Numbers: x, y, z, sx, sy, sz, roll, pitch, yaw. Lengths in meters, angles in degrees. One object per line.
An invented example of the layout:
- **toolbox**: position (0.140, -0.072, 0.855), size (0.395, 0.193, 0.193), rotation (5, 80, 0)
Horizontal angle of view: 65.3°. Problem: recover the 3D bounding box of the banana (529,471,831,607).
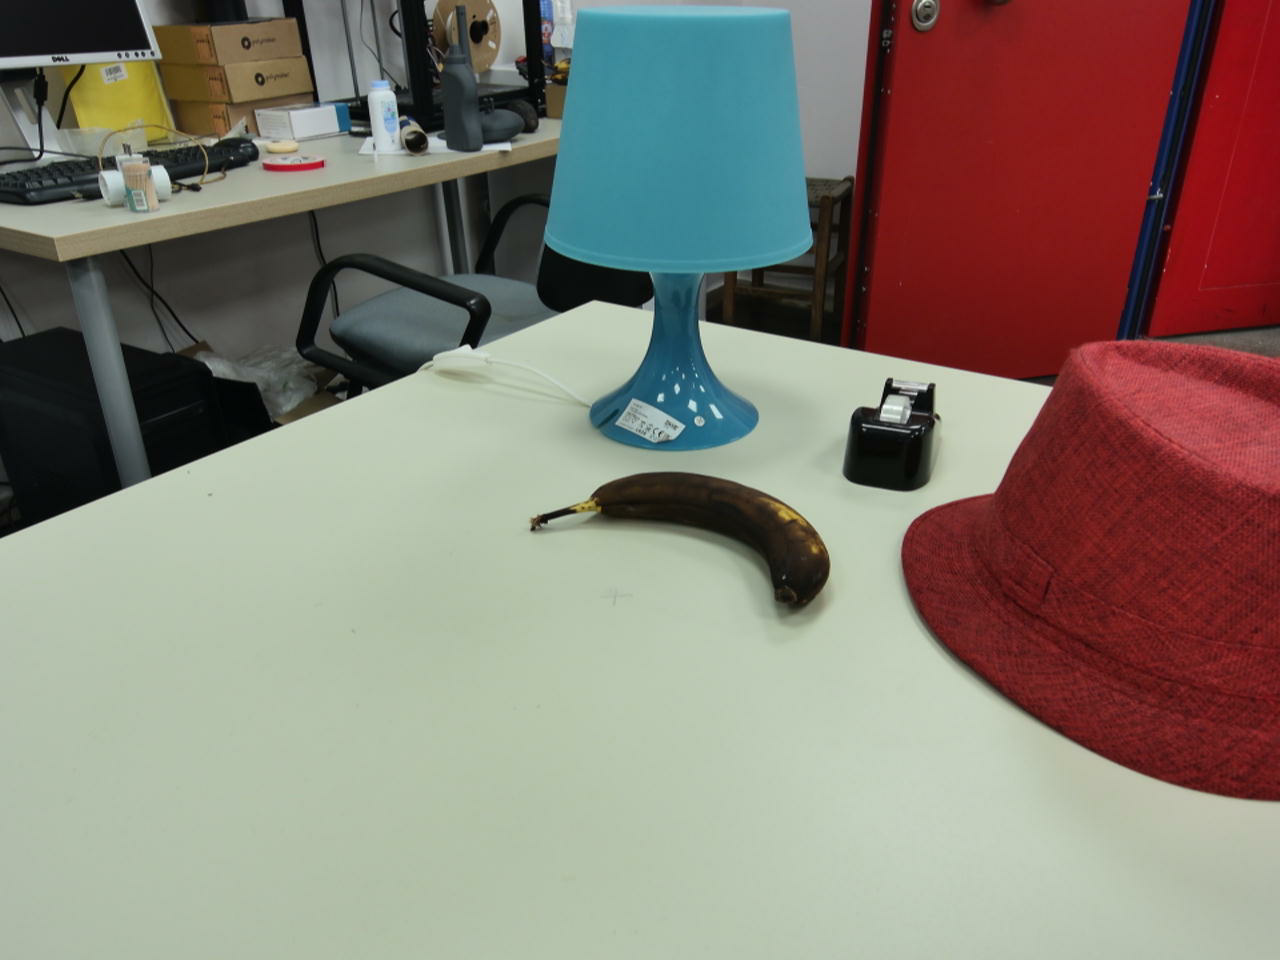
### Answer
- **banana**: position (0.034, 0.024, 0.593), size (0.188, 0.034, 0.091), rotation (17, 31, 33)
